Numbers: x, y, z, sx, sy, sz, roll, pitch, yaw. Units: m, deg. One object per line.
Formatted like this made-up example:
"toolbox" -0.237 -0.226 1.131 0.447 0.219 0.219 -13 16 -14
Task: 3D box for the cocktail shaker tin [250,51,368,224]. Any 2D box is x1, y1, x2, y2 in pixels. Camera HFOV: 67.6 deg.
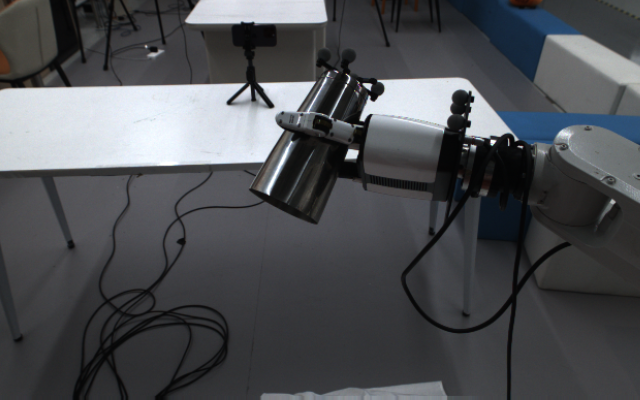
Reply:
"cocktail shaker tin" -0.004 -0.070 0.585 0.093 0.093 0.170 21 81 25
